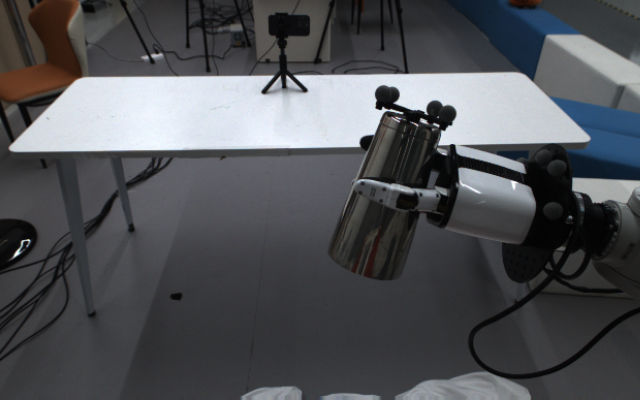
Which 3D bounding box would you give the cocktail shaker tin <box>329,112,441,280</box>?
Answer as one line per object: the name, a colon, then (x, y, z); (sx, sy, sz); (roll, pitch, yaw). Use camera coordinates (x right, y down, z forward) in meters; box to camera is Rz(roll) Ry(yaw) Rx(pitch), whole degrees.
cocktail shaker tin: (0.077, -0.007, 0.544); (0.093, 0.170, 0.093); (15, 17, -5)
